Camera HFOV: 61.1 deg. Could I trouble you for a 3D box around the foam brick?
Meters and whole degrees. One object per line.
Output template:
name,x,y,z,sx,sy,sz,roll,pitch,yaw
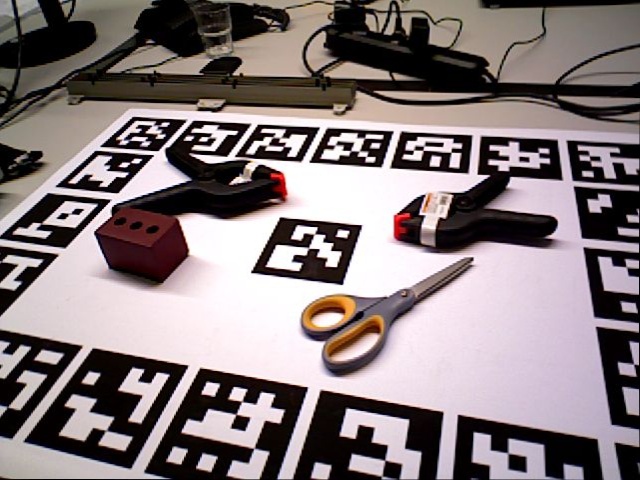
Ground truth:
foam brick,-0.191,0.014,0.592,0.078,0.052,0.051,7,44,22

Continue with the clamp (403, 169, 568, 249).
clamp,0.171,-0.030,0.605,0.164,0.037,0.120,-14,48,-7

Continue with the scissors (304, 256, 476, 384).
scissors,0.078,0.059,0.519,0.199,0.016,0.087,-28,53,-25

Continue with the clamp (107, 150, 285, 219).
clamp,-0.143,-0.068,0.688,0.203,0.037,0.162,3,38,10
